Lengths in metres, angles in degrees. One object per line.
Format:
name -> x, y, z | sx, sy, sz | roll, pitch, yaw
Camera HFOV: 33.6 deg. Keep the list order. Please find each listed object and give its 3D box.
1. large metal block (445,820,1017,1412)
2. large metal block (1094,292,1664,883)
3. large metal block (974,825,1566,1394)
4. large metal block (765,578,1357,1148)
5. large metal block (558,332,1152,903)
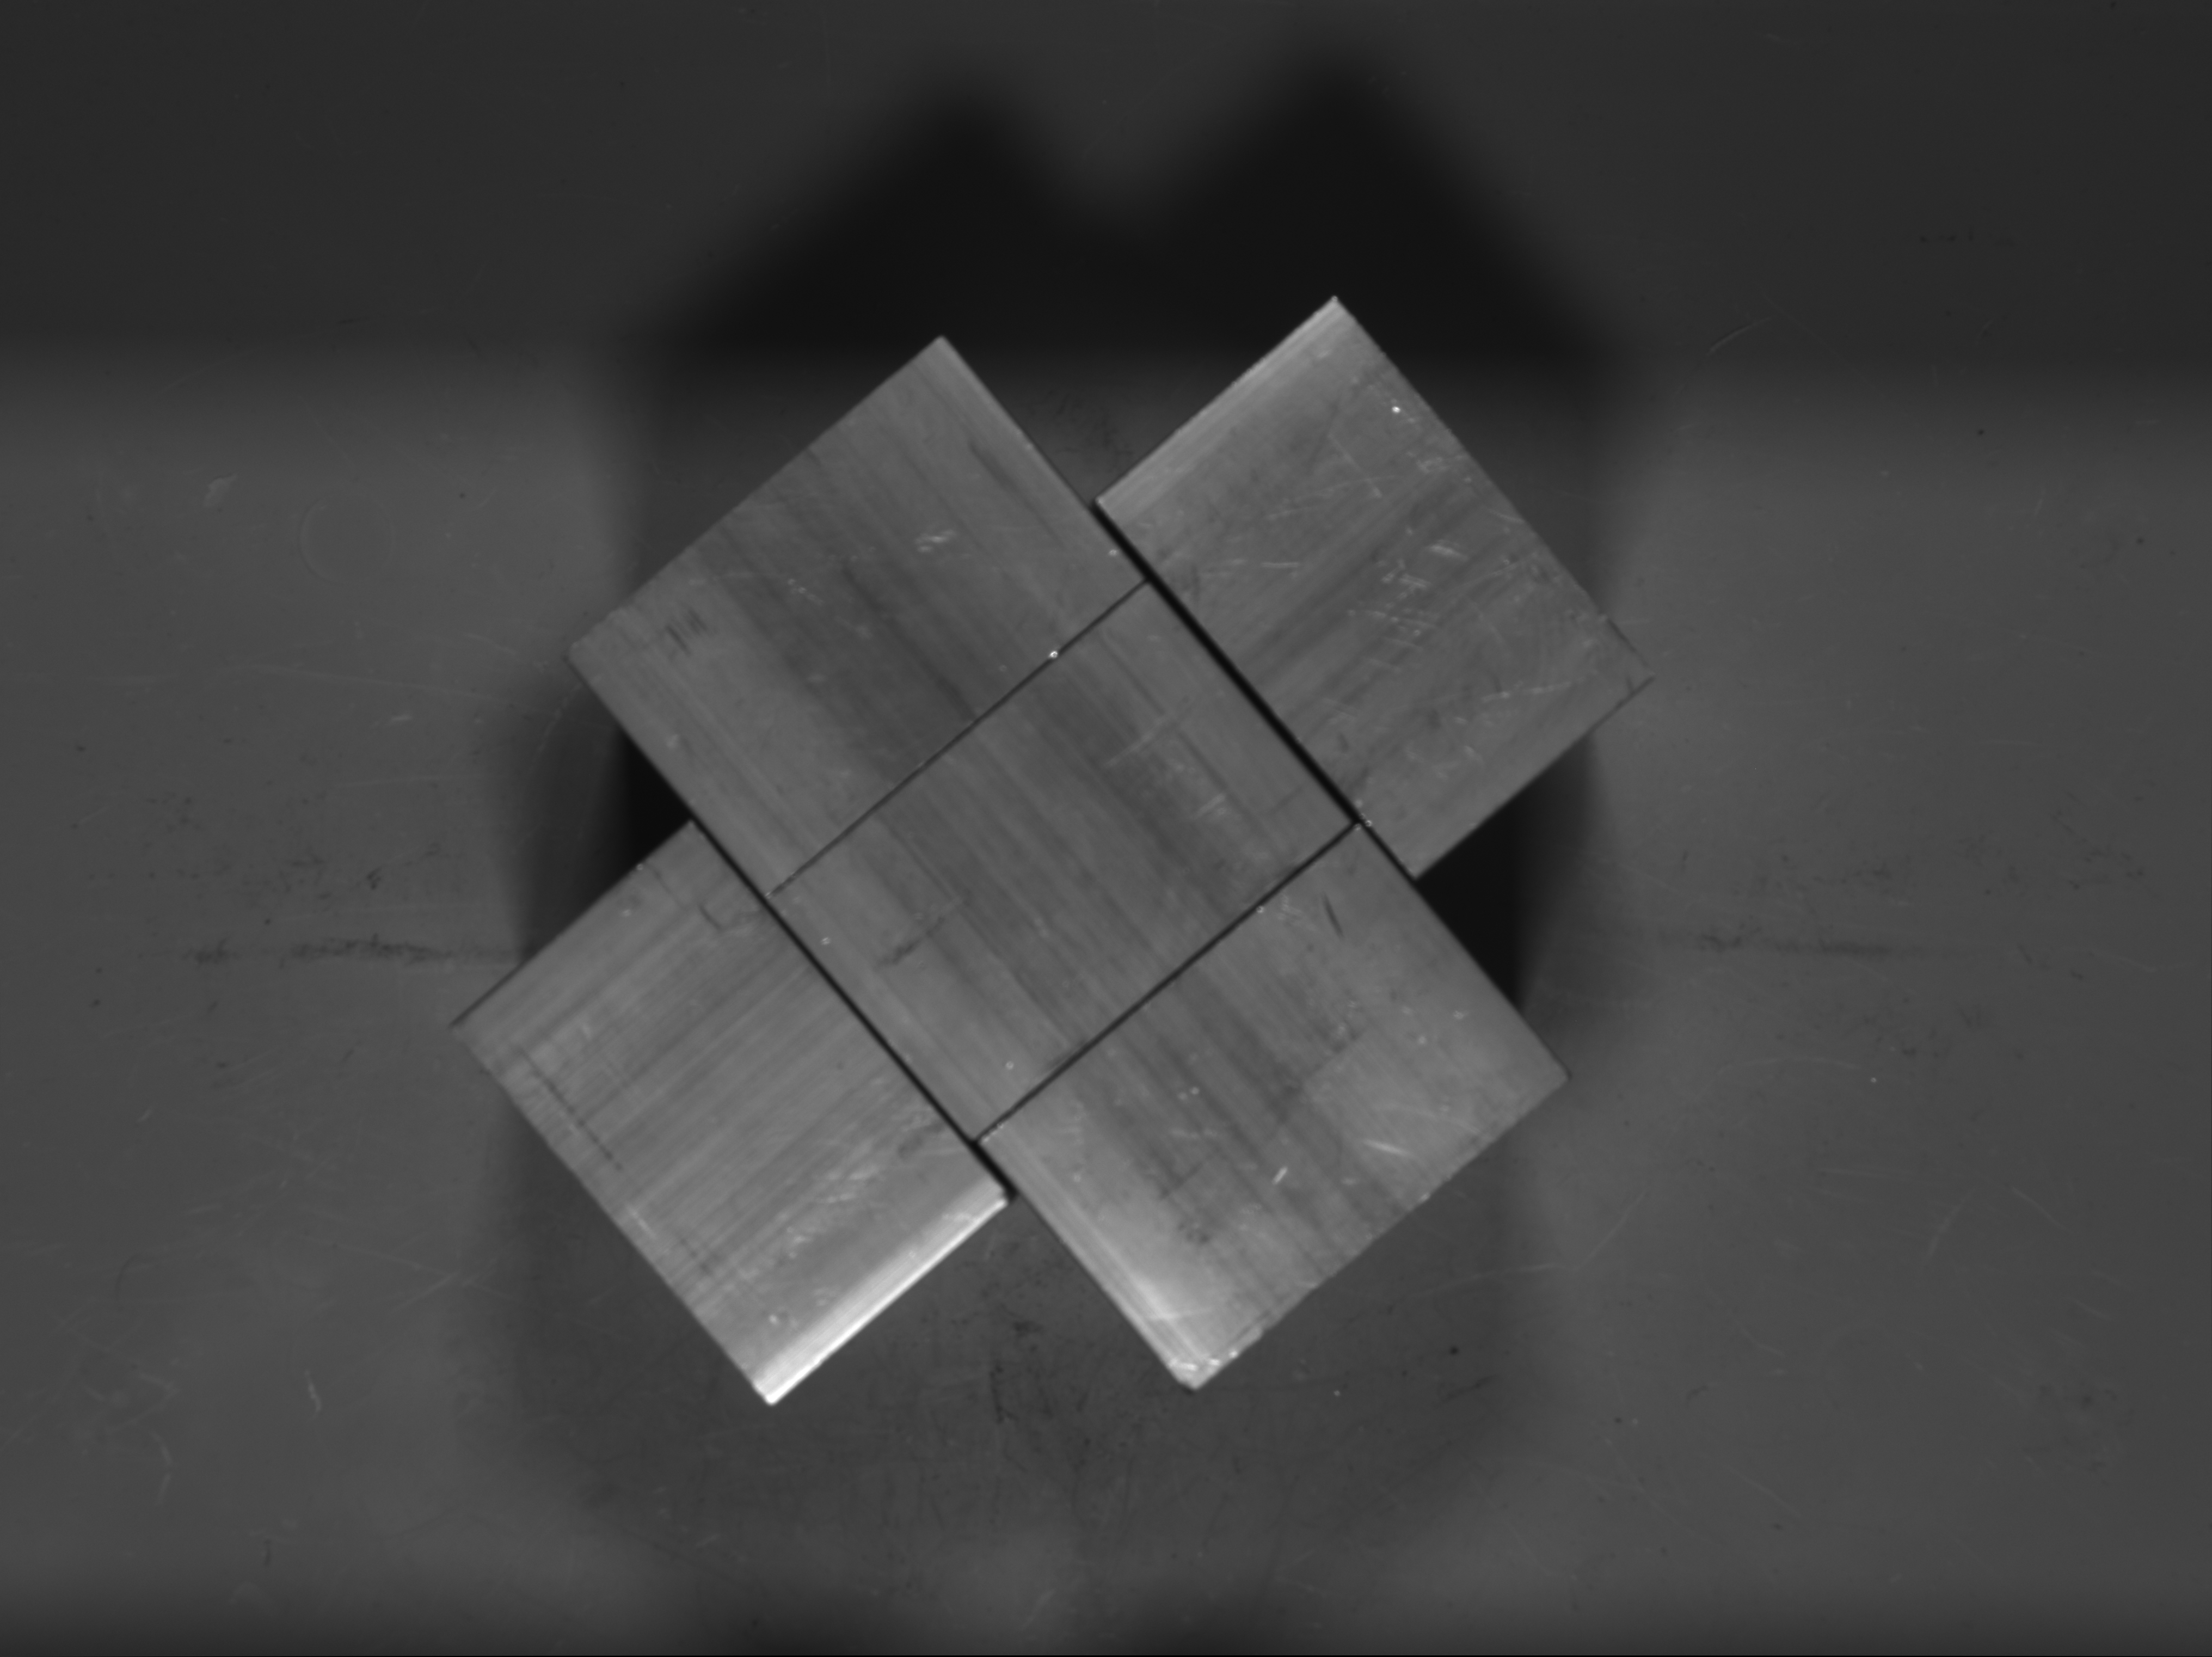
large metal block -> -0.059, 0.045, 0.617 | 0.050, 0.080, 0.080 | -41, 90, 0
large metal block -> 0.043, -0.038, 0.618 | 0.050, 0.080, 0.080 | -41, 90, 0
large metal block -> 0.026, 0.044, 0.618 | 0.080, 0.080, 0.050 | -40, 90, 0
large metal block -> -0.007, 0.006, 0.617 | 0.080, 0.080, 0.050 | -40, 90, 0
large metal block -> -0.040, -0.033, 0.616 | 0.080, 0.080, 0.050 | -40, 90, 0
